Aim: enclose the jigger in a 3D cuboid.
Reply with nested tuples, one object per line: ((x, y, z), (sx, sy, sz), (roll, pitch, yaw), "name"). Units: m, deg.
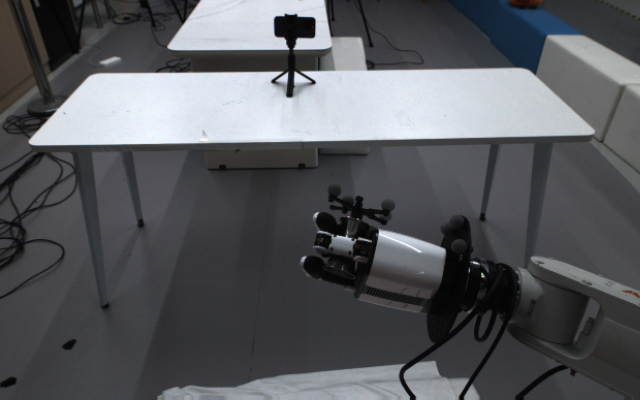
((0.037, 0.059, 0.606), (0.043, 0.043, 0.071), (12, 71, 14), "jigger")
